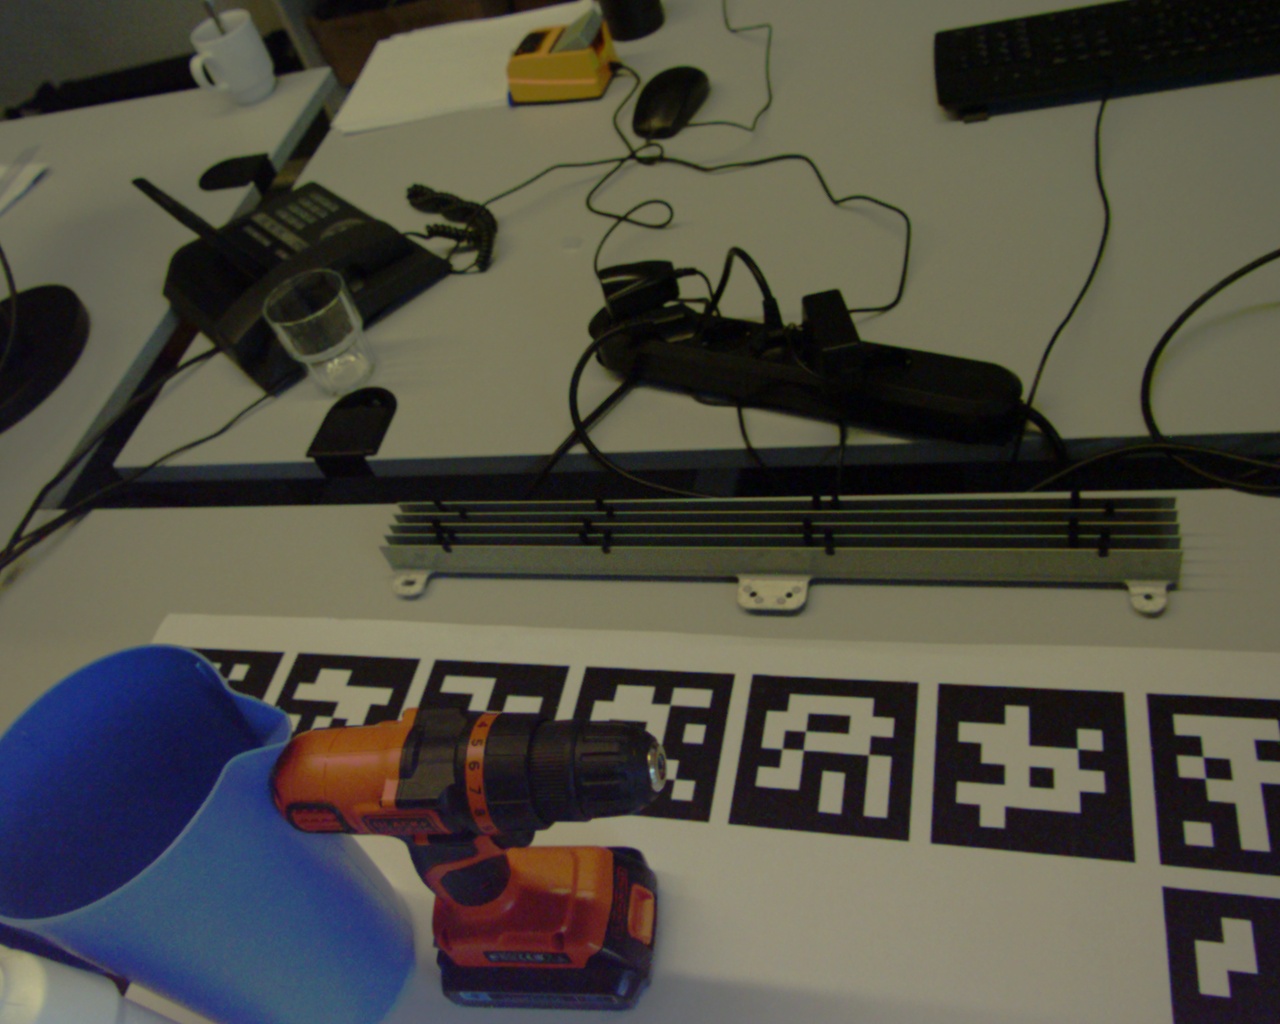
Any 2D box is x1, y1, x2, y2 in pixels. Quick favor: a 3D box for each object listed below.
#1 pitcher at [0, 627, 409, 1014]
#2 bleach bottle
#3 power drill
[{"bbox_3d":[-0.228,0.182,0.602,0.189,0.240,0.134,-21,48,2],"label":"pitcher"},{"bbox_3d":[-0.263,0.248,0.530,0.103,0.248,0.068,-7,49,15],"label":"bleach bottle"},{"bbox_3d":[-0.062,0.172,0.562,0.185,0.185,0.057,-1,53,12],"label":"power drill"}]
